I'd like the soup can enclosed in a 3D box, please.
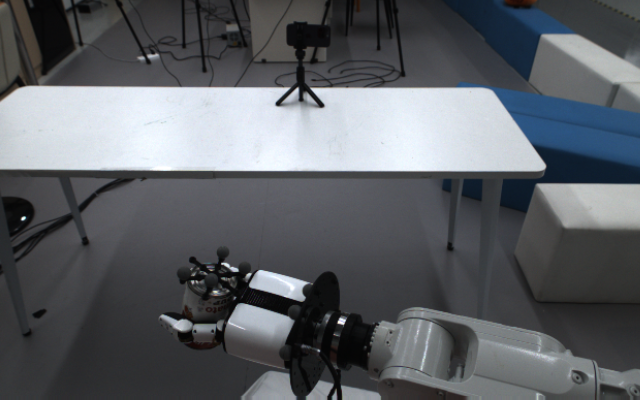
[{"bbox_3d":[-0.153,0.145,0.659,0.067,0.101,0.067,13,31,-8],"label":"soup can"}]
